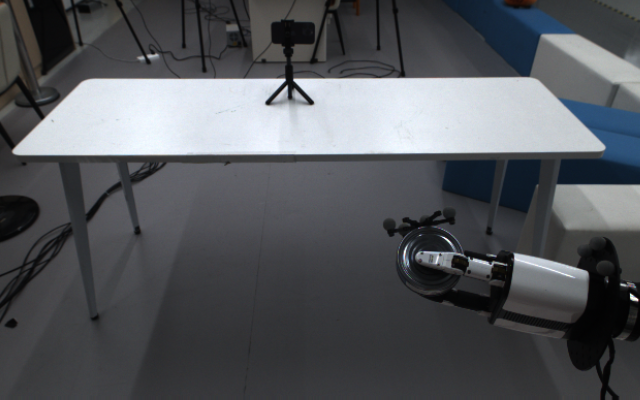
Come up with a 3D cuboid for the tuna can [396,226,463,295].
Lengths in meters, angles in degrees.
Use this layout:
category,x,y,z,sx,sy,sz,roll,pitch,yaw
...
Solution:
category,x,y,z,sx,sy,sz,roll,pitch,yaw
tuna can,0.143,0.075,0.619,0.085,0.034,0.085,-4,68,9
